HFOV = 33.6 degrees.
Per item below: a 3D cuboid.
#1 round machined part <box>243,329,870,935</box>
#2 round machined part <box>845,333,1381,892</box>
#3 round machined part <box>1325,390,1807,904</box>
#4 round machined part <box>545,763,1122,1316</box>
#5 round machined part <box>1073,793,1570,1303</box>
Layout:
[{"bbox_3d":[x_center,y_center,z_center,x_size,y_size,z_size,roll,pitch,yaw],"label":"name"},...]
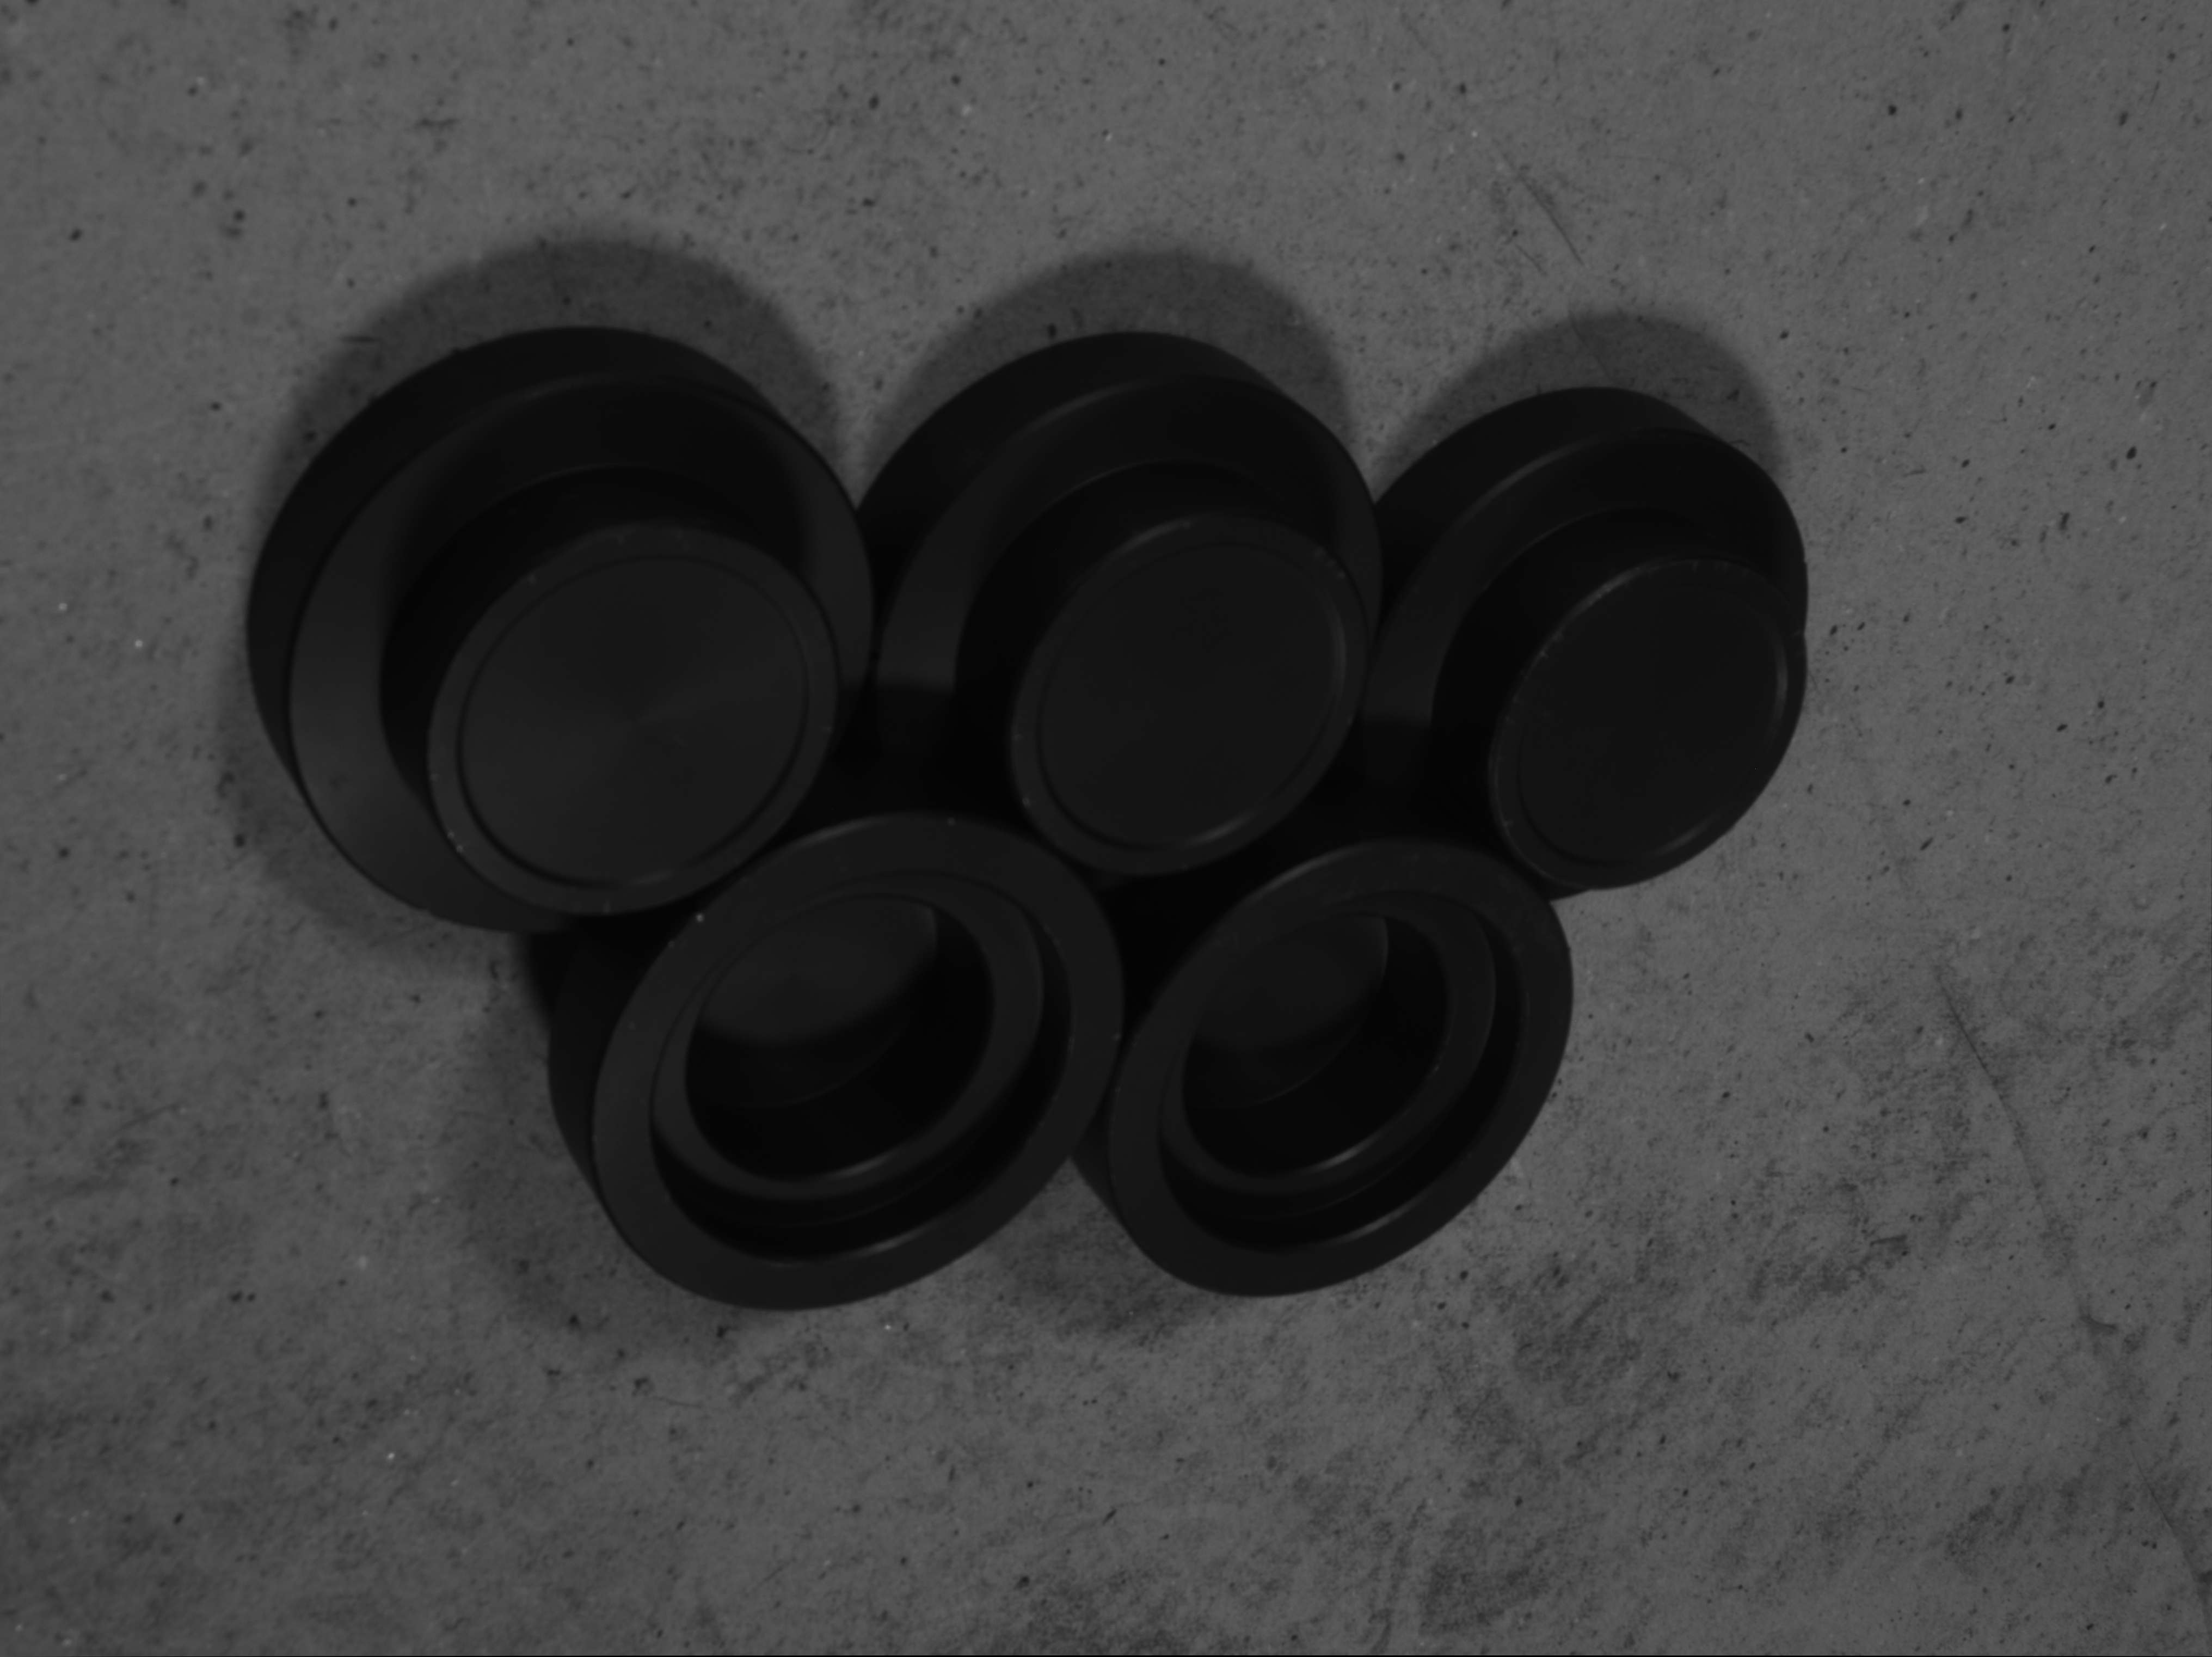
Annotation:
[{"bbox_3d":[-0.082,-0.025,0.576,0.098,0.042,0.098,-15,125,-22],"label":"round machined part"},{"bbox_3d":[0.005,-0.031,0.624,0.098,0.042,0.098,-15,125,-22],"label":"round machined part"},{"bbox_3d":[0.089,-0.028,0.675,0.098,0.042,0.098,-15,125,-22],"label":"round machined part"},{"bbox_3d":[-0.050,0.032,0.630,0.098,0.042,0.098,-15,125,-22],"label":"round machined part"},{"bbox_3d":[0.034,0.036,0.682,0.098,0.042,0.098,-15,125,-22],"label":"round machined part"}]
